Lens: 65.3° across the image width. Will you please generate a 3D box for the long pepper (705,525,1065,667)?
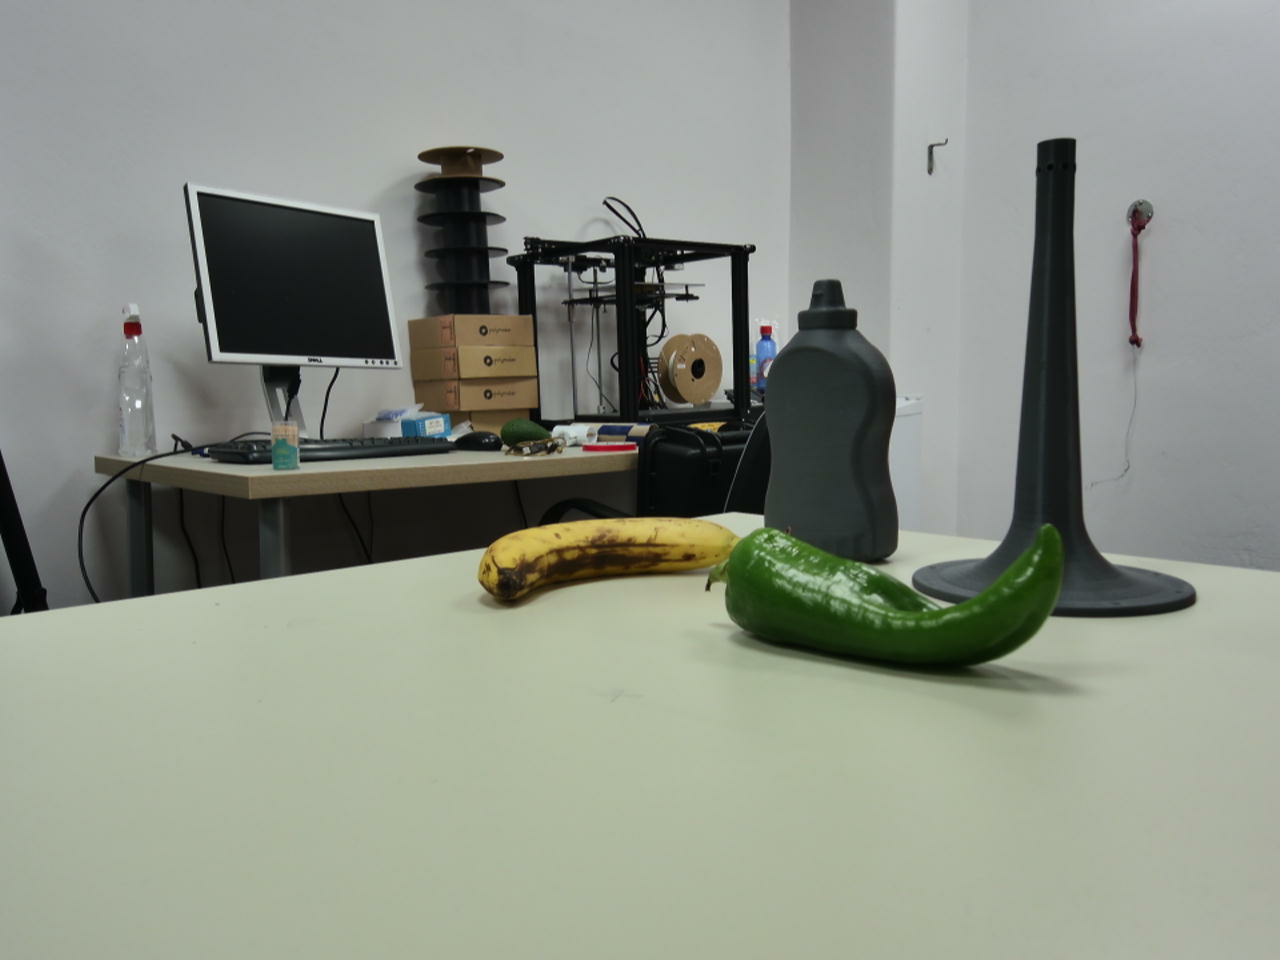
[{"bbox_3d":[0.100,0.047,0.454,0.058,0.065,0.175,-2,4,-42],"label":"long pepper"}]
